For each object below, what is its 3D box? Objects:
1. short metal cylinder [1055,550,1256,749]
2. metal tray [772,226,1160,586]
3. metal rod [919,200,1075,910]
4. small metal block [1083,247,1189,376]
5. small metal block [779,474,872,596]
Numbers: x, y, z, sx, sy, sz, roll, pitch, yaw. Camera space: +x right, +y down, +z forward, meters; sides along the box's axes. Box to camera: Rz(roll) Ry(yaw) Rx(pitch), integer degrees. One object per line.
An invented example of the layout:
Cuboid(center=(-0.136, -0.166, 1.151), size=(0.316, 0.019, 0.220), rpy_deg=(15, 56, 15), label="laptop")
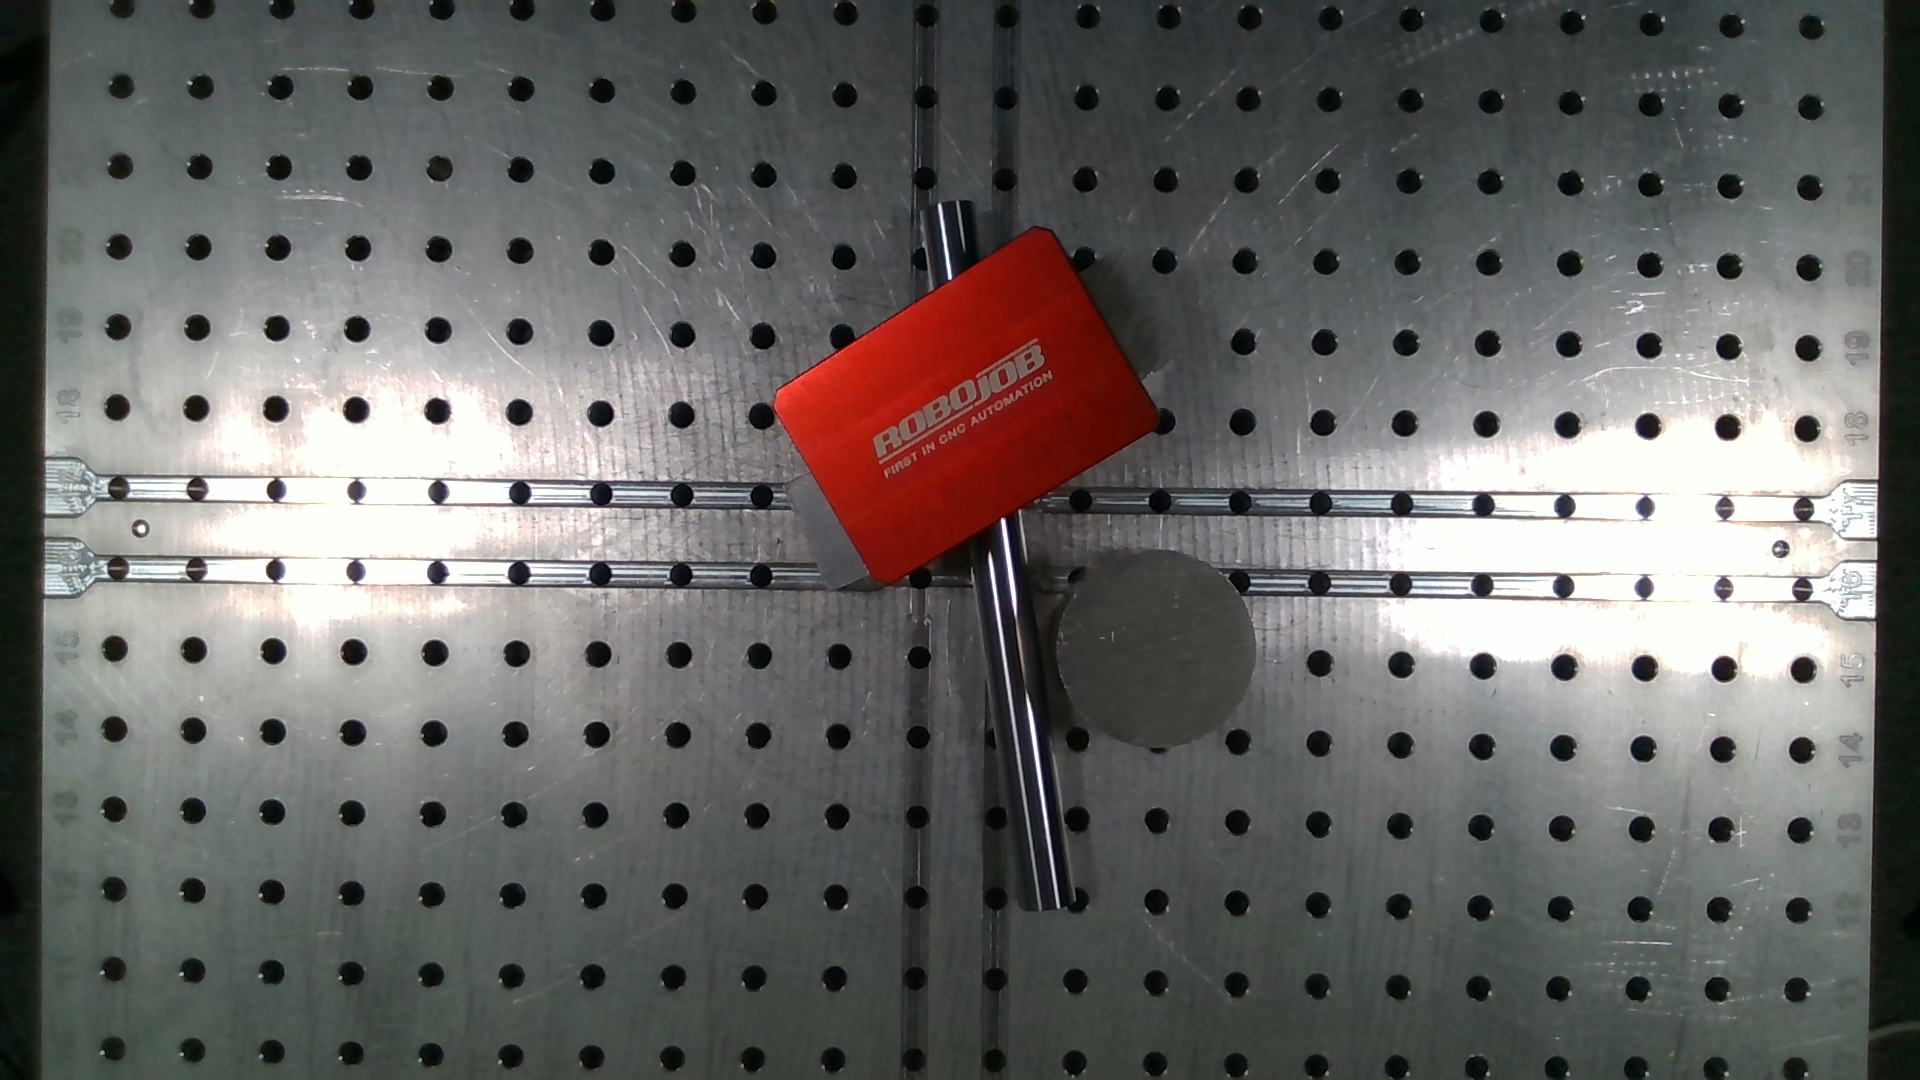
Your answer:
Cuboid(center=(0.079, 0.044, 0.577), size=(0.080, 0.050, 0.080), rpy_deg=(0, 90, 0), label="short metal cylinder")
Cuboid(center=(0.003, -0.052, 0.548), size=(0.130, 0.030, 0.090), rpy_deg=(-31, 90, 11), label="metal tray")
Cuboid(center=(0.016, 0.007, 0.589), size=(0.025, 0.025, 0.300), rpy_deg=(-8, 91, 0), label="metal rod")
Cuboid(center=(0.068, -0.090, 0.576), size=(0.025, 0.050, 0.050), rpy_deg=(-32, 90, 0), label="small metal block")
Cuboid(center=(-0.043, -0.010, 0.588), size=(0.050, 0.025, 0.050), rpy_deg=(-24, 90, 0), label="small metal block")
